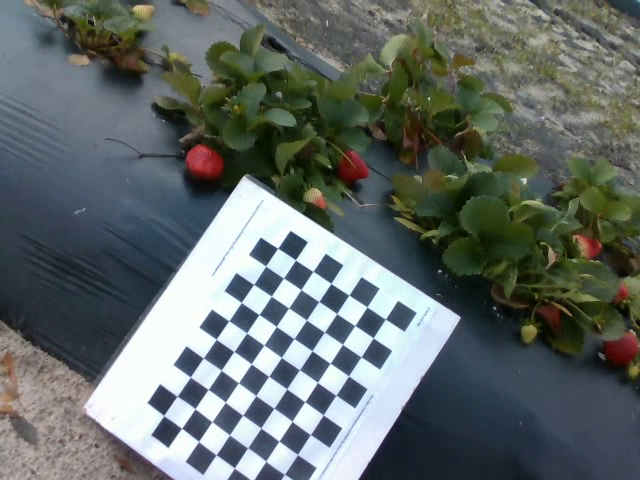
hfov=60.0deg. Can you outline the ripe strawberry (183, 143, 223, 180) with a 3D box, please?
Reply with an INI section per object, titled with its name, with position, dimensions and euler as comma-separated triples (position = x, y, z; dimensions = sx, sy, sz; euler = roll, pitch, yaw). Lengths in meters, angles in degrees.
[ripe strawberry]
position = -0.114, -0.073, 0.507
dimensions = 0.037, 0.036, 0.046
euler = -13, 31, 7
